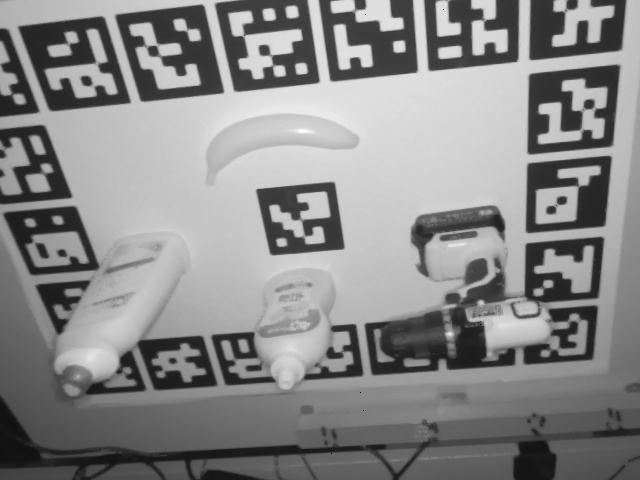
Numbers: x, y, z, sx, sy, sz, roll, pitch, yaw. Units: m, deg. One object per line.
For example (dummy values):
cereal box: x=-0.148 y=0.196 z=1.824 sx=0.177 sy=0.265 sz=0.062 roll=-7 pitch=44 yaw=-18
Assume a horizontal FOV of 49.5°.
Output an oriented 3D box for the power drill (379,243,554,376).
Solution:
power drill: x=0.155 y=0.079 z=0.793 sx=0.184 sy=0.188 sz=0.057 roll=-10 pitch=118 yaw=5

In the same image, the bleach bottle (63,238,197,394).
bleach bottle: x=-0.225 y=0.087 z=0.819 sx=0.102 sy=0.253 sz=0.067 roll=4 pitch=120 yaw=3

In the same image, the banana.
banana: x=-0.040 y=-0.102 z=0.816 sx=0.197 sy=0.039 sz=0.074 roll=-9 pitch=116 yaw=5

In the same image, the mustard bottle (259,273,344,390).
mustard bottle: x=-0.025 y=0.115 z=0.860 sx=0.096 sy=0.193 sz=0.058 roll=-9 pitch=118 yaw=12
